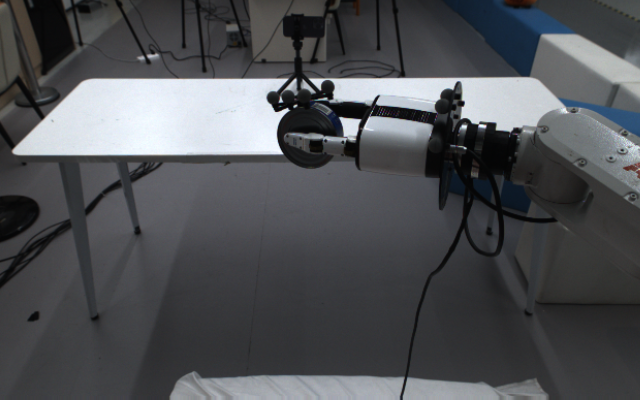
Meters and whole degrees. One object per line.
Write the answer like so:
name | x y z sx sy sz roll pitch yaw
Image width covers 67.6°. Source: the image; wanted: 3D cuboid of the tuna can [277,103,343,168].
tuna can | -0.010 -0.084 0.652 0.085 0.085 0.034 13 29 15
